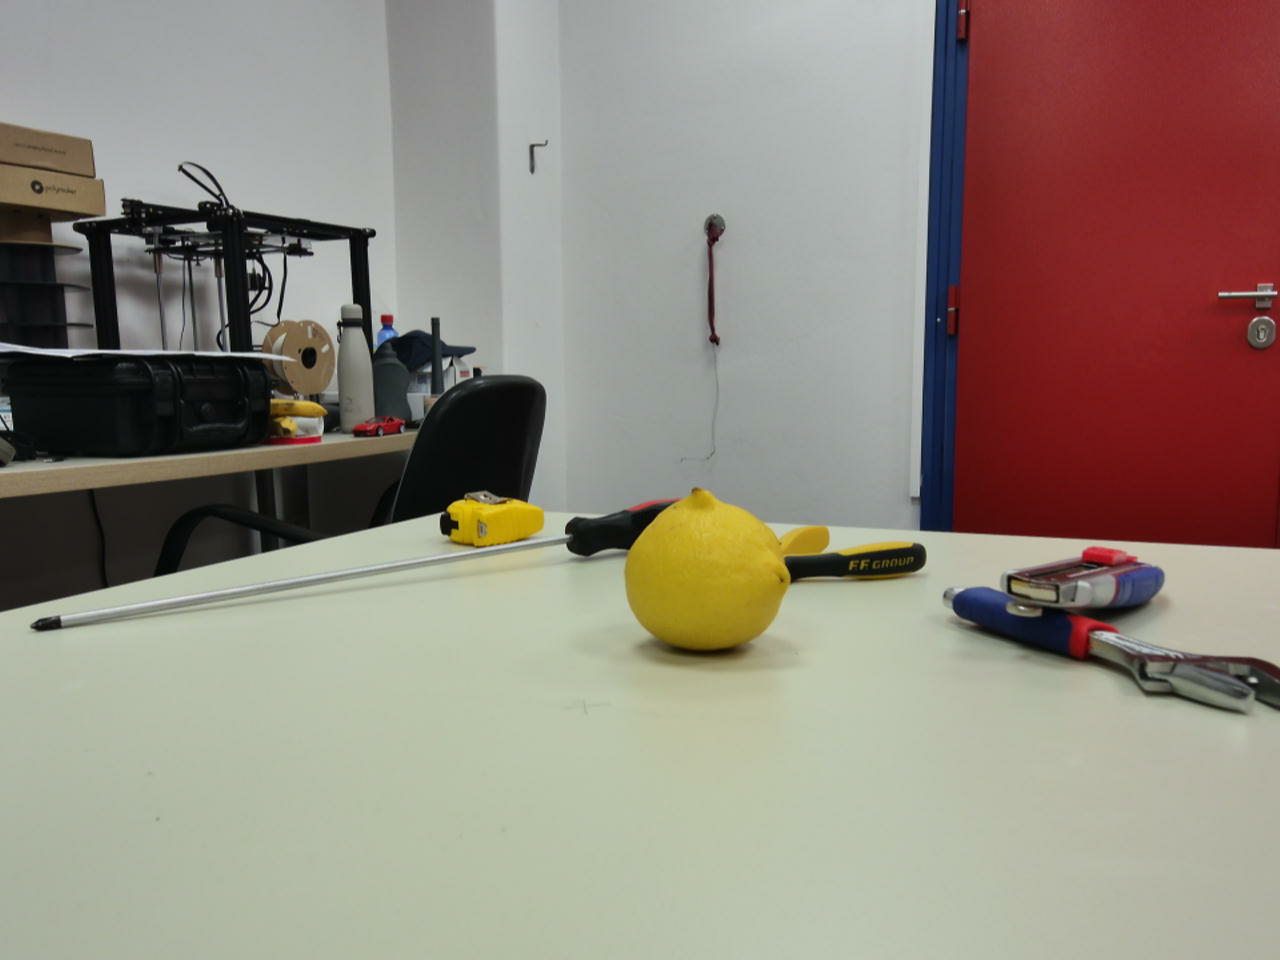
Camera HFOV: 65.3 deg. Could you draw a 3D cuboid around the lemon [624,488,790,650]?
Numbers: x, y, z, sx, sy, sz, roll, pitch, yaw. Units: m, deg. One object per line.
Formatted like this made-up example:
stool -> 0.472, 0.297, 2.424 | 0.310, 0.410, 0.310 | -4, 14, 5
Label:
lemon -> 0.029, 0.039, 0.446 | 0.070, 0.071, 0.071 | -1, 4, -9
